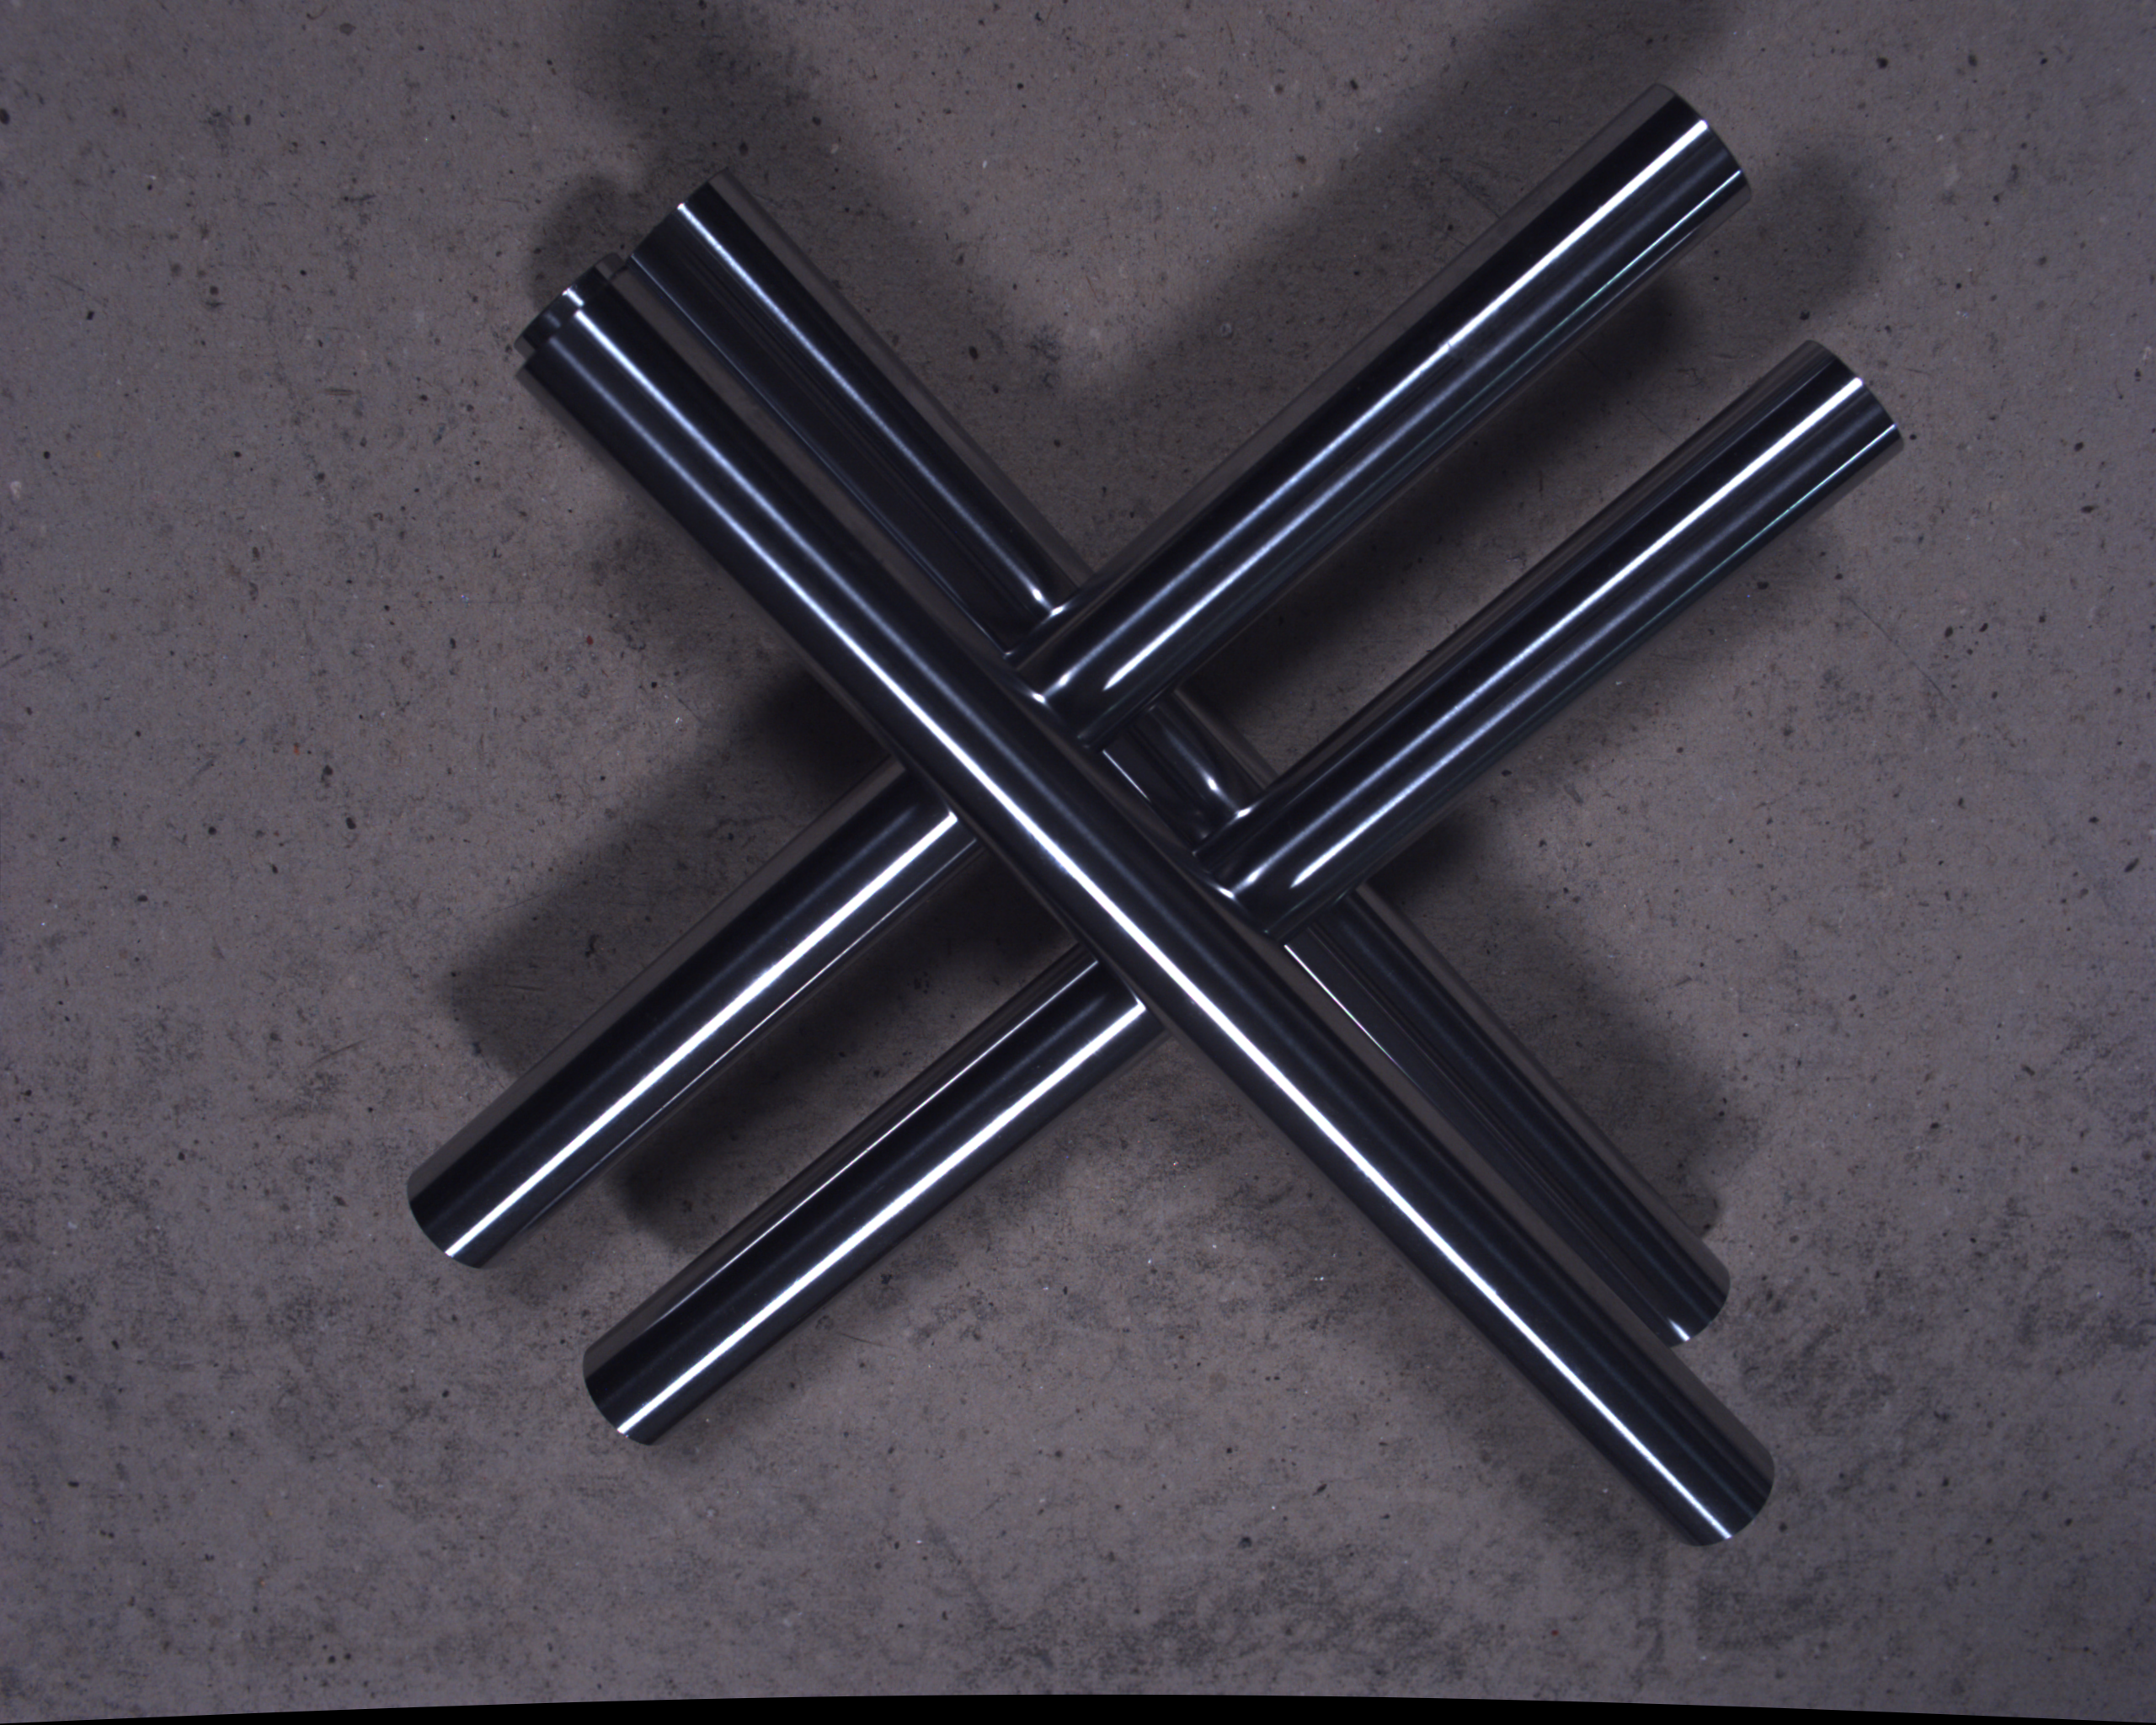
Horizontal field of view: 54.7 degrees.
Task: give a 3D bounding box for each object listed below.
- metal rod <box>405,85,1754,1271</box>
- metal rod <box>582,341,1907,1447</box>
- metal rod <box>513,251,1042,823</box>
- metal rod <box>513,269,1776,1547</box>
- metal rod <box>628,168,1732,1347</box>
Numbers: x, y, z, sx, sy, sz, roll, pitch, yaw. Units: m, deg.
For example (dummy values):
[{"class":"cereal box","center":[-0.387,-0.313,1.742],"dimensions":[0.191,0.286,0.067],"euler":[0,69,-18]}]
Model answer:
[{"class":"metal rod","center":[-0.010,-0.024,0.375],"dimensions":[0.300,0.025,0.025],"euler":[-40,106,13]},{"class":"metal rod","center":[0.021,0.014,0.390],"dimensions":[0.300,0.025,0.025],"euler":[-40,106,13]},{"class":"metal rod","center":[0.008,0.004,0.412],"dimensions":[0.025,0.025,0.300],"euler":[-40,106,13]},{"class":"metal rod","center":[0.023,0.019,0.365],"dimensions":[0.025,0.025,0.300],"euler":[-41,106,13]},{"class":"metal rod","center":[0.029,-0.010,0.408],"dimensions":[0.025,0.025,0.300],"euler":[-40,106,13]}]
